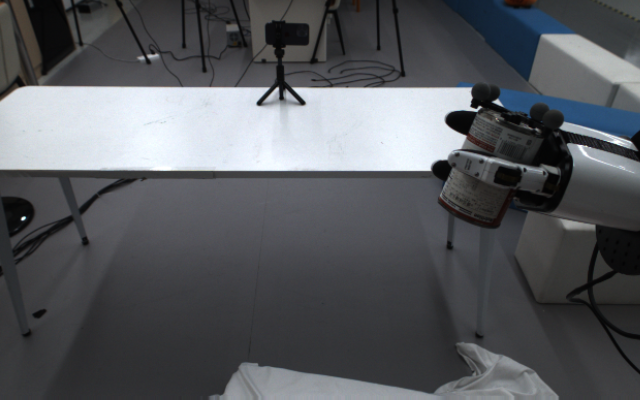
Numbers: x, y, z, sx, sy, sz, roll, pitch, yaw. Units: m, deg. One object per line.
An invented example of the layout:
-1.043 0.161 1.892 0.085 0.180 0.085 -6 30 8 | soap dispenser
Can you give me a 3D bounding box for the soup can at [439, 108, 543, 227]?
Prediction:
0.171 -0.033 0.485 0.067 0.101 0.067 17 21 -7 | soup can
